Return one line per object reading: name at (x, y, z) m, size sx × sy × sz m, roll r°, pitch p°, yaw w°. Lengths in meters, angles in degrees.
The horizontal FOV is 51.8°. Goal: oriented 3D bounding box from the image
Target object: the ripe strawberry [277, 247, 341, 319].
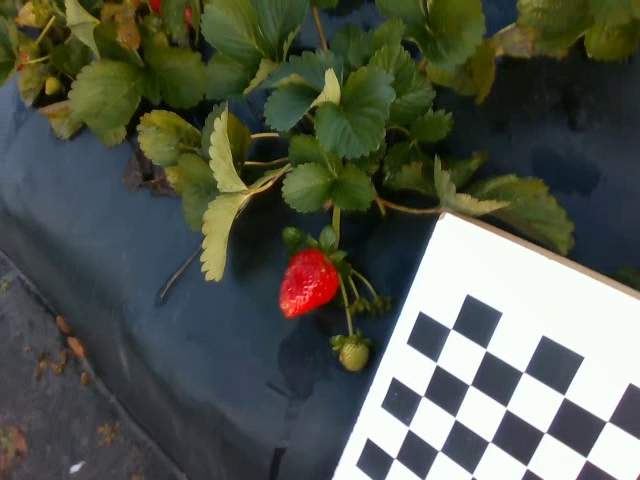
ripe strawberry at (-0.012, 0.037, 0.474) m, size 0.043 × 0.052 × 0.057 m, roll -2°, pitch 30°, yaw 44°
